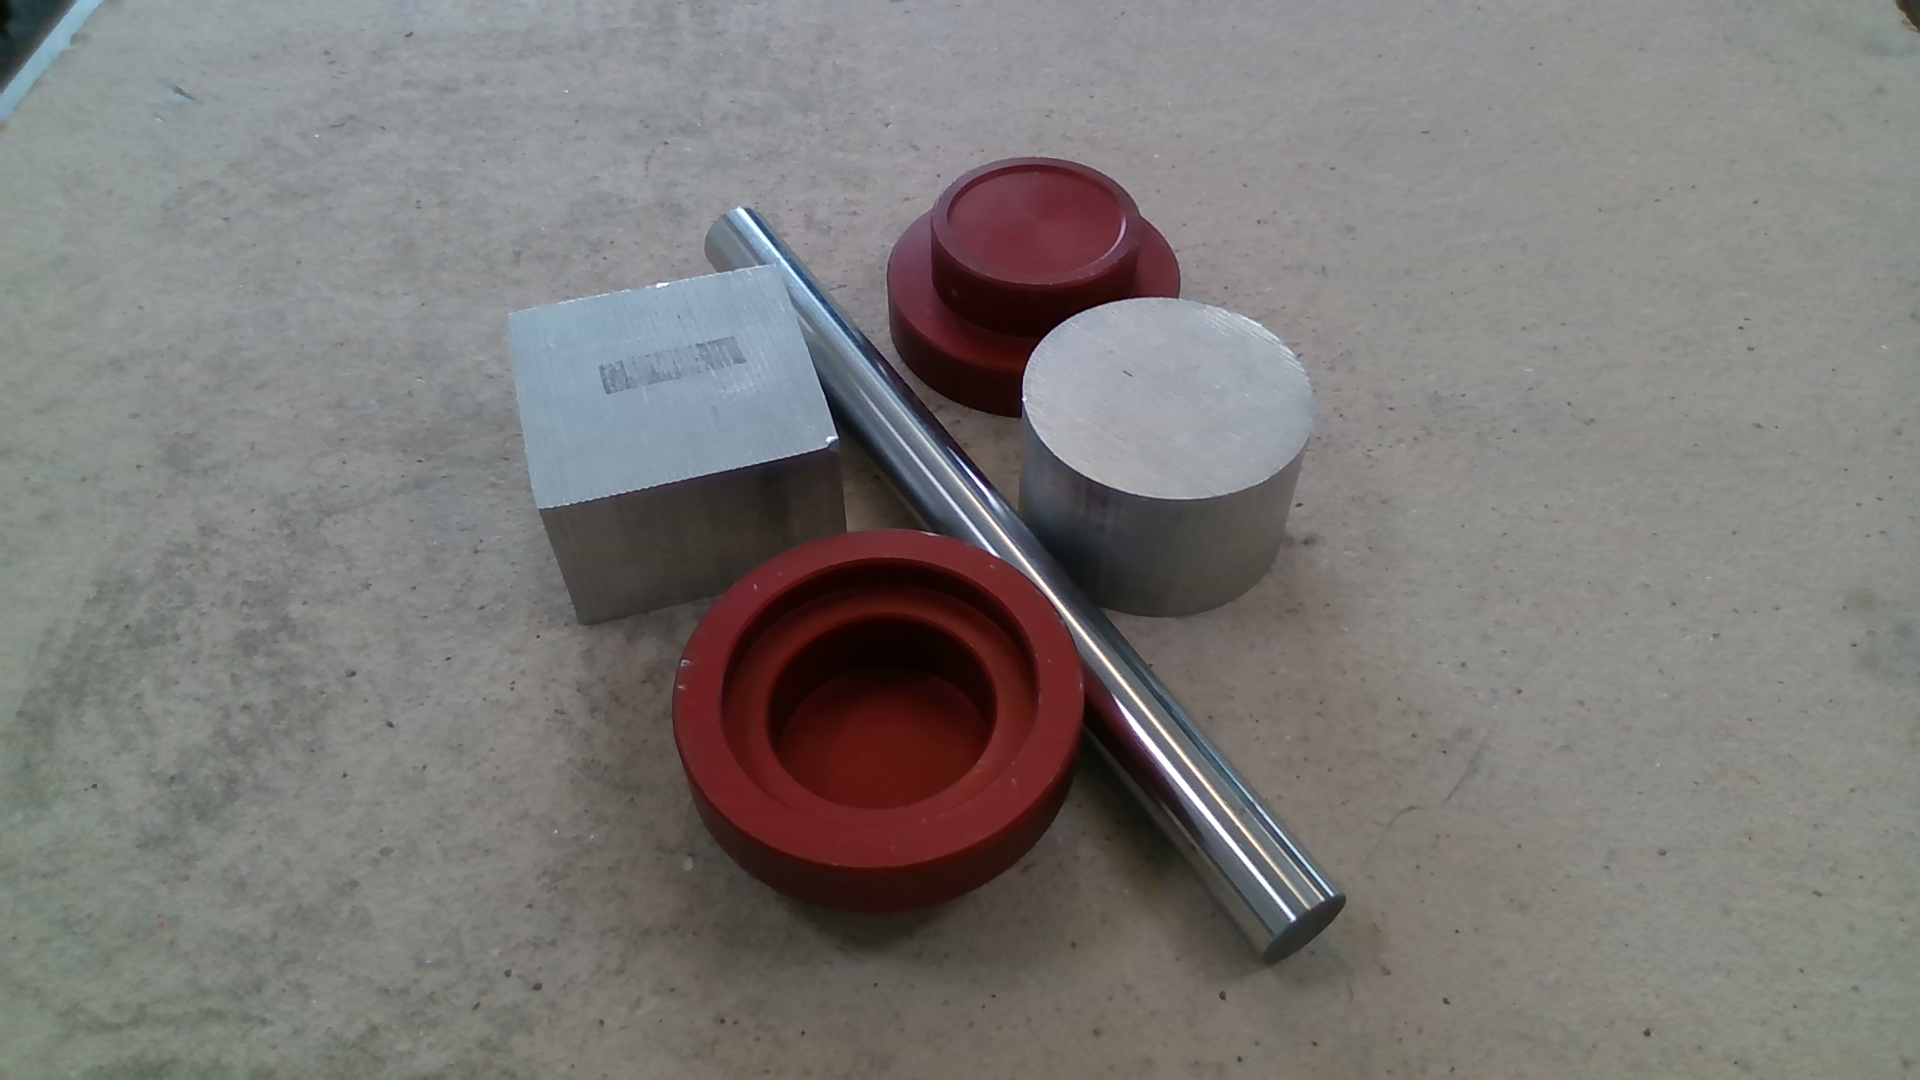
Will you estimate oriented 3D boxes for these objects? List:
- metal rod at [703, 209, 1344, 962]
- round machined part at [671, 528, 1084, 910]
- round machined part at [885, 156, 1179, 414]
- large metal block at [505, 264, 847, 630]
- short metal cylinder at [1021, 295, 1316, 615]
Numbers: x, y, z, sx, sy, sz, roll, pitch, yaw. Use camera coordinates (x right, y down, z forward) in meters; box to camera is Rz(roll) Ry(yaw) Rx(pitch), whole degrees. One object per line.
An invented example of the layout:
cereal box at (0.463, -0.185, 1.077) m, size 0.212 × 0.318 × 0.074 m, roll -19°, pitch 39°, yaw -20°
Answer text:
metal rod at (0.001, -0.007, 0.402) m, size 0.025 × 0.025 × 0.299 m, roll -26°, pitch 55°, yaw -20°
round machined part at (-0.019, 0.047, 0.343) m, size 0.098 × 0.042 × 0.098 m, roll 0°, pitch 50°, yaw 0°
round machined part at (0.024, -0.091, 0.458) m, size 0.098 × 0.042 × 0.098 m, roll 0°, pitch 50°, yaw 0°
large metal block at (-0.082, -0.029, 0.403) m, size 0.080 × 0.050 × 0.080 m, roll -14°, pitch 51°, yaw -11°
short metal cylinder at (0.057, -0.025, 0.398) m, size 0.080 × 0.050 × 0.080 m, roll 0°, pitch 50°, yaw 0°
